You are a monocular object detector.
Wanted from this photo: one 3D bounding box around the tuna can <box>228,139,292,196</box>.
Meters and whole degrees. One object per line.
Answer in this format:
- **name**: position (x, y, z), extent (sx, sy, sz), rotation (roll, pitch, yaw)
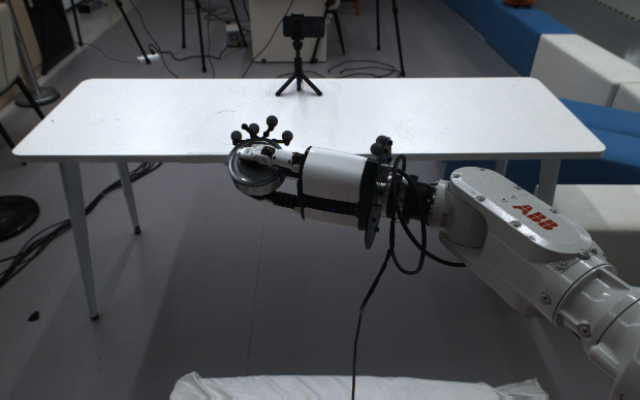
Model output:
- **tuna can**: position (-0.089, -0.049, 0.719), extent (0.085, 0.034, 0.085), rotation (-2, 58, 3)
